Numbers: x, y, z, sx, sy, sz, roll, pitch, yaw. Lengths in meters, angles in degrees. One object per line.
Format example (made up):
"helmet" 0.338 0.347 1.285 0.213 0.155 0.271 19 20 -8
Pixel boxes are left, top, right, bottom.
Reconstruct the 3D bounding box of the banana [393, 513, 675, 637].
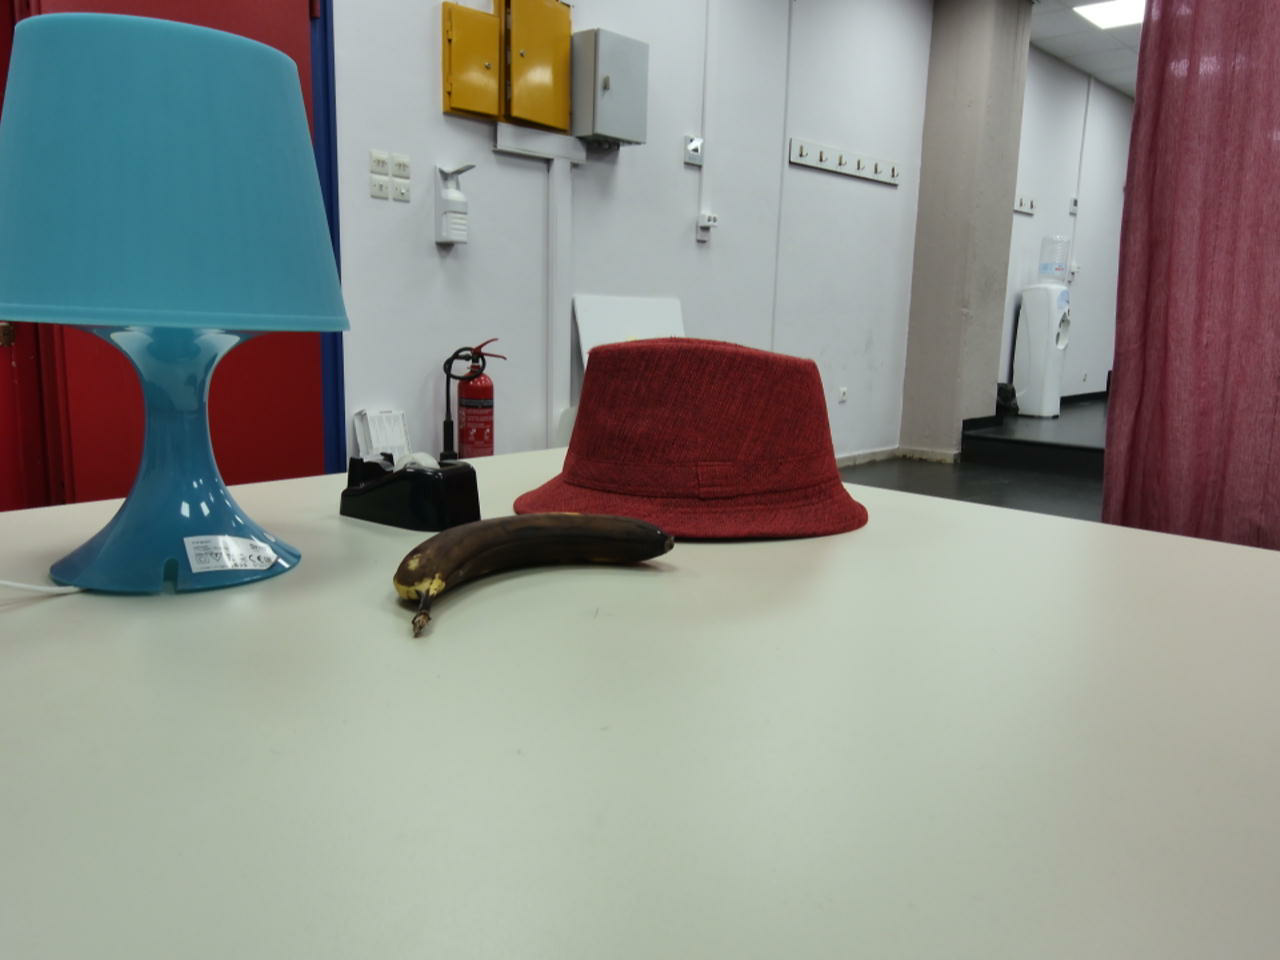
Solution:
"banana" -0.072 0.042 0.570 0.091 0.033 0.188 7 11 43
